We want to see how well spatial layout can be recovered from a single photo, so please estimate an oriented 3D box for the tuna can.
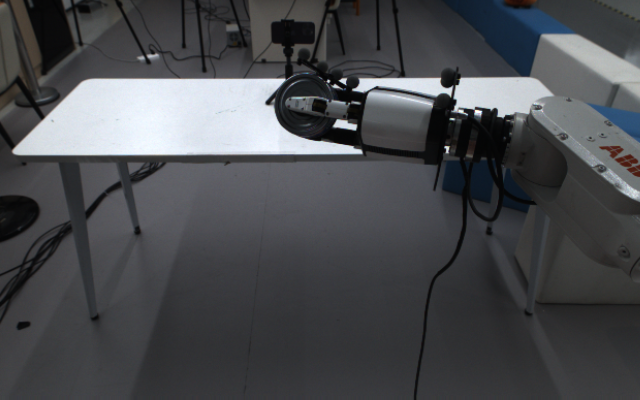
[{"bbox_3d":[-0.018,-0.130,0.663,0.085,0.085,0.034,12,4,15],"label":"tuna can"}]
